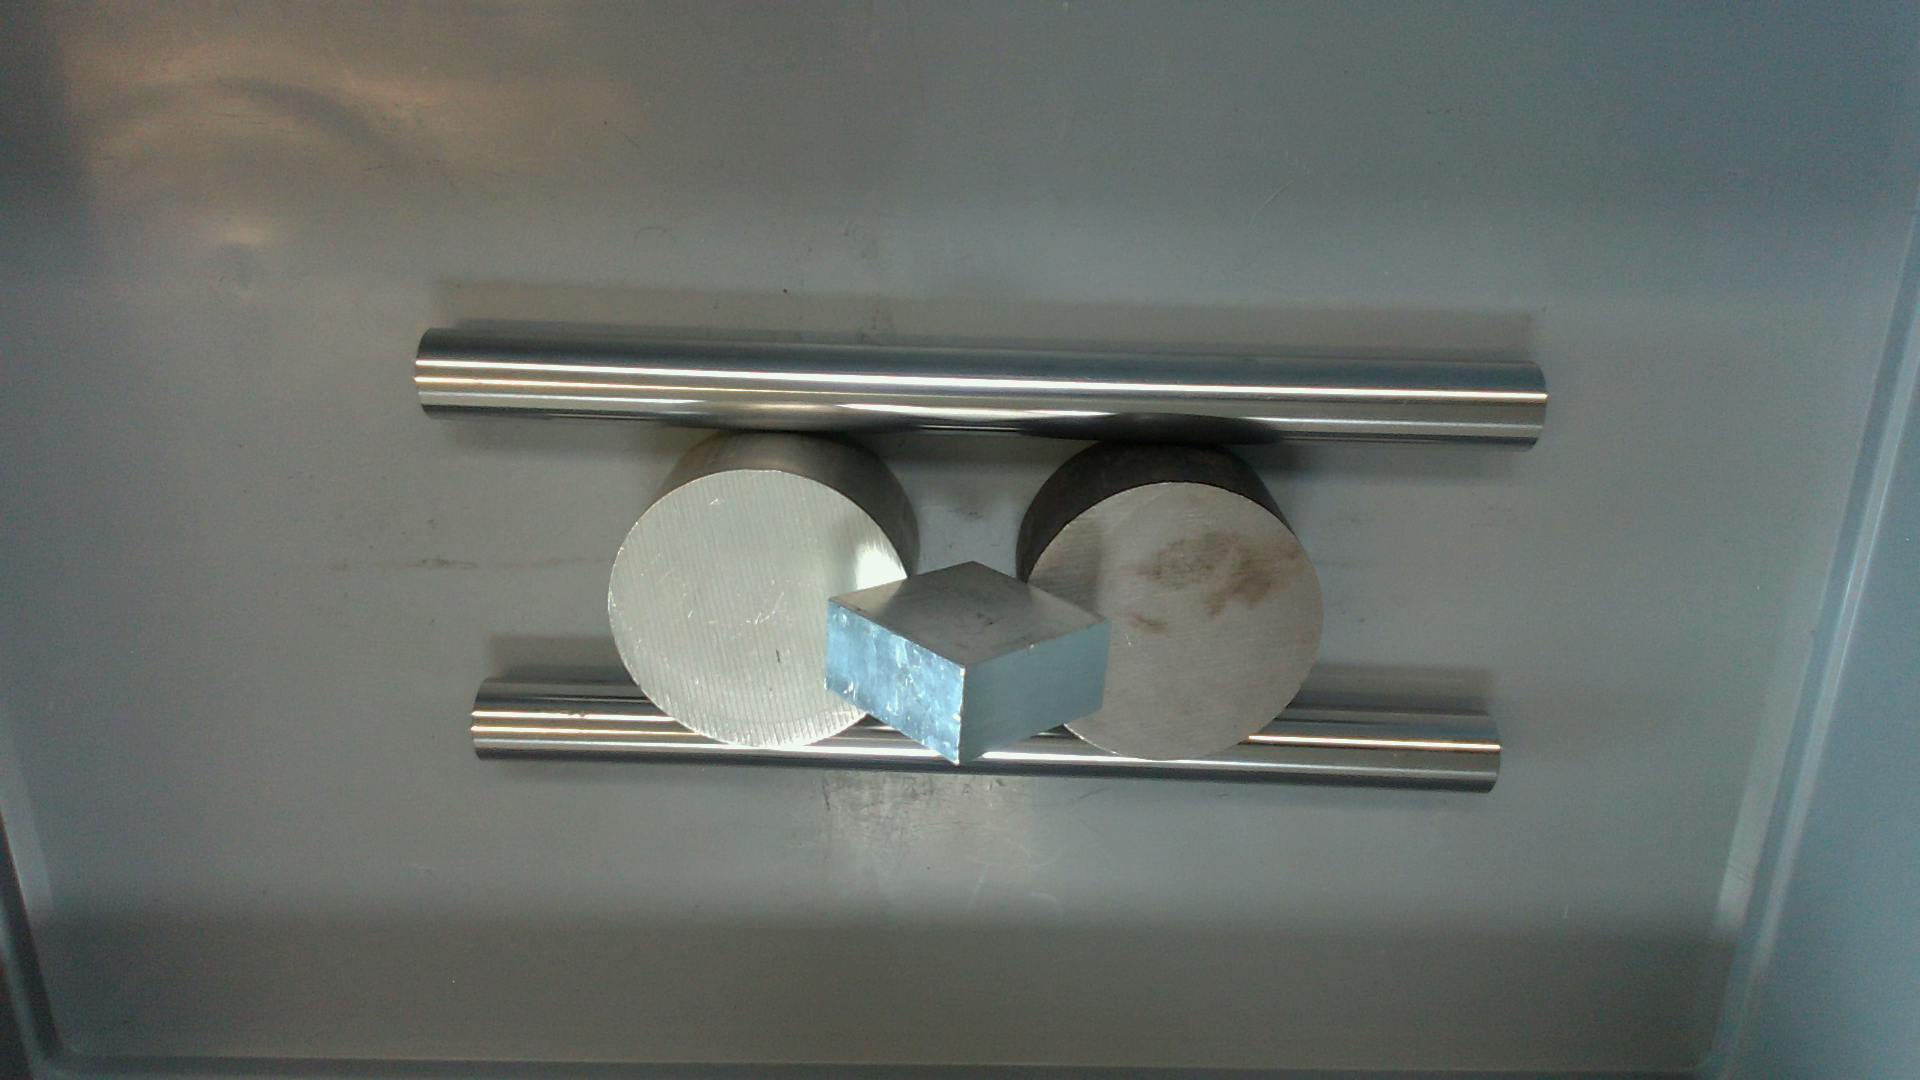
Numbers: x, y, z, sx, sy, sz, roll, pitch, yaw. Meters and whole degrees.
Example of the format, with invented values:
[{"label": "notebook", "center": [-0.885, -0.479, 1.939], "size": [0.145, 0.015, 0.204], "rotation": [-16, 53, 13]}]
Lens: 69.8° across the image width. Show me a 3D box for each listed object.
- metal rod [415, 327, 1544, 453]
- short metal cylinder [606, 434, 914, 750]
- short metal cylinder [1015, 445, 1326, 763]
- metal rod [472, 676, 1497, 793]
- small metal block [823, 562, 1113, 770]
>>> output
[{"label": "metal rod", "center": [0.006, -0.041, 0.378], "size": [0.300, 0.025, 0.025], "rotation": [2, 110, -1]}, {"label": "short metal cylinder", "center": [-0.052, 0.011, 0.383], "size": [0.080, 0.050, 0.080], "rotation": [0, 110, 0]}, {"label": "short metal cylinder", "center": [0.056, 0.015, 0.385], "size": [0.080, 0.050, 0.080], "rotation": [0, 110, 0]}, {"label": "metal rod", "center": [0.008, 0.058, 0.414], "size": [0.300, 0.025, 0.025], "rotation": [2, 110, -1]}, {"label": "small metal block", "center": [0.001, 0.029, 0.341], "size": [0.050, 0.050, 0.025], "rotation": [-14, 116, -41]}]
